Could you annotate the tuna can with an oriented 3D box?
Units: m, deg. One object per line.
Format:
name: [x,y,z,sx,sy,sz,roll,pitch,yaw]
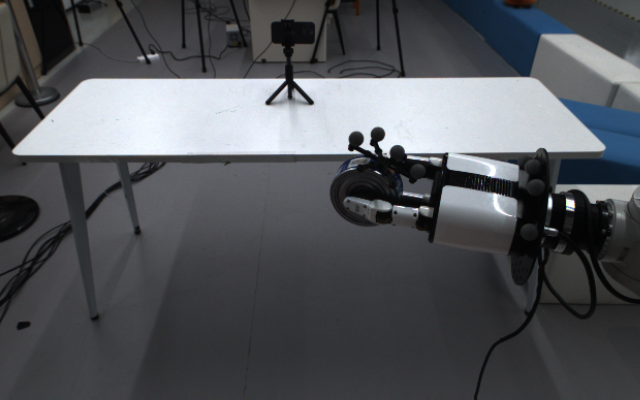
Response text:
tuna can: [0.060,-0.004,0.589,0.085,0.085,0.034,12,36,14]
